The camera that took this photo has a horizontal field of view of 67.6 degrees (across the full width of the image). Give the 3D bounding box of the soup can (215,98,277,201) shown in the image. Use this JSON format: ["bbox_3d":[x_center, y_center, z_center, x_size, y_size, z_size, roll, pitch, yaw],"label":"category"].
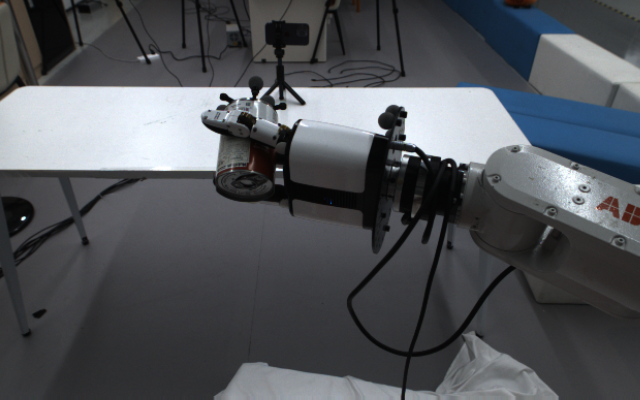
[{"bbox_3d":[-0.081,-0.058,0.558,0.067,0.067,0.101,0,61,-3],"label":"soup can"}]
